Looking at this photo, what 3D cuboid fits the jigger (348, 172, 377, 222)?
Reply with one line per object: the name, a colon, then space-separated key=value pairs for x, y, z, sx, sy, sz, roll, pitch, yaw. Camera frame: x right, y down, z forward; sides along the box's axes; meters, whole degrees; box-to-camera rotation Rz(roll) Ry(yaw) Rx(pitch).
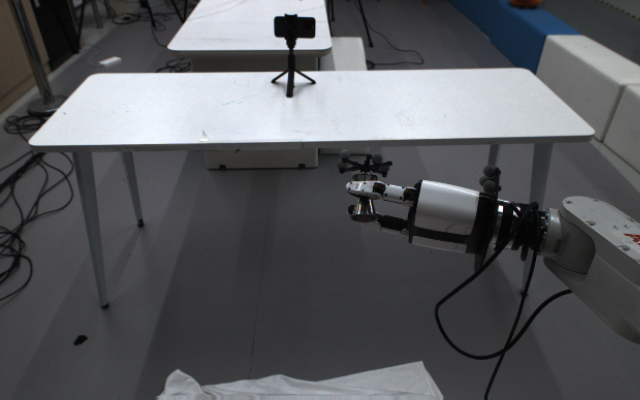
jigger: x=0.067 y=-0.006 z=0.747 sx=0.043 sy=0.043 sz=0.071 roll=3 pitch=72 yaw=1
